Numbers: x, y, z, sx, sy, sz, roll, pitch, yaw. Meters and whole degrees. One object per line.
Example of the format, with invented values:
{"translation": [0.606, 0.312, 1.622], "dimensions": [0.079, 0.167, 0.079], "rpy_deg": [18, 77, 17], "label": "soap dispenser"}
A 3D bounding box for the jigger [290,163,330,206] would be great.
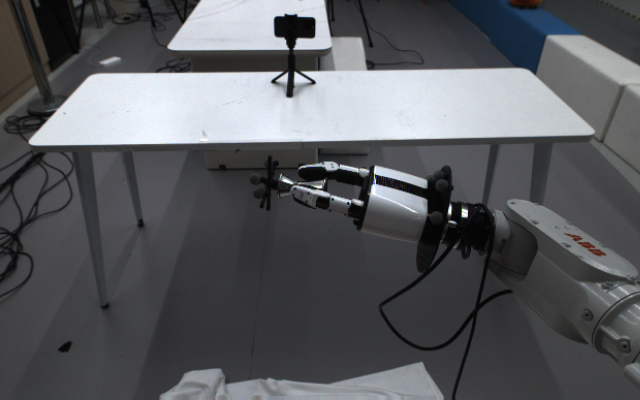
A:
{"translation": [-0.018, -0.022, 0.717], "dimensions": [0.071, 0.043, 0.043], "rpy_deg": [7, 35, 7], "label": "jigger"}
